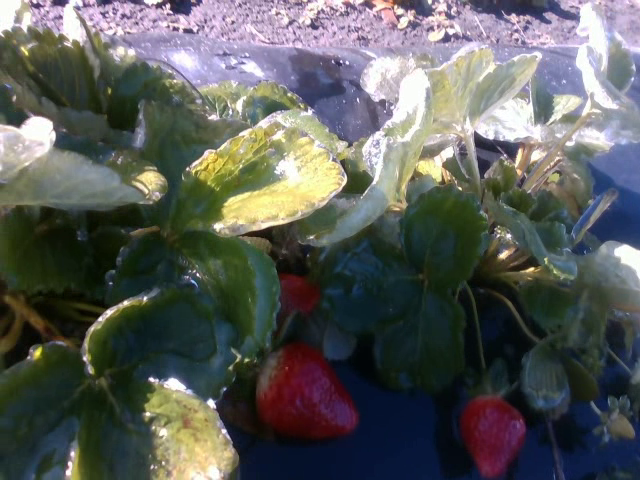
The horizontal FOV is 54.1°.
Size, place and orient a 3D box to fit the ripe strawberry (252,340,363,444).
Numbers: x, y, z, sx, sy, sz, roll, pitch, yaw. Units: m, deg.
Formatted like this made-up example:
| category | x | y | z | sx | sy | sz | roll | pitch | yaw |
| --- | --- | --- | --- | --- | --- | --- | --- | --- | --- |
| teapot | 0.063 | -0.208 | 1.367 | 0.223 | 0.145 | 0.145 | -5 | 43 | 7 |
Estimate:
| category | x | y | z | sx | sy | sz | roll | pitch | yaw |
| --- | --- | --- | --- | --- | --- | --- | --- | --- | --- |
| ripe strawberry | -0.001 | 0.075 | 0.285 | 0.056 | 0.044 | 0.040 | 40 | -23 | -15 |

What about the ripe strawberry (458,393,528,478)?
| category | x | y | z | sx | sy | sz | roll | pitch | yaw |
| --- | --- | --- | --- | --- | --- | --- | --- | --- | --- |
| ripe strawberry | 0.087 | 0.099 | 0.308 | 0.039 | 0.047 | 0.040 | 30 | -31 | -19 |
